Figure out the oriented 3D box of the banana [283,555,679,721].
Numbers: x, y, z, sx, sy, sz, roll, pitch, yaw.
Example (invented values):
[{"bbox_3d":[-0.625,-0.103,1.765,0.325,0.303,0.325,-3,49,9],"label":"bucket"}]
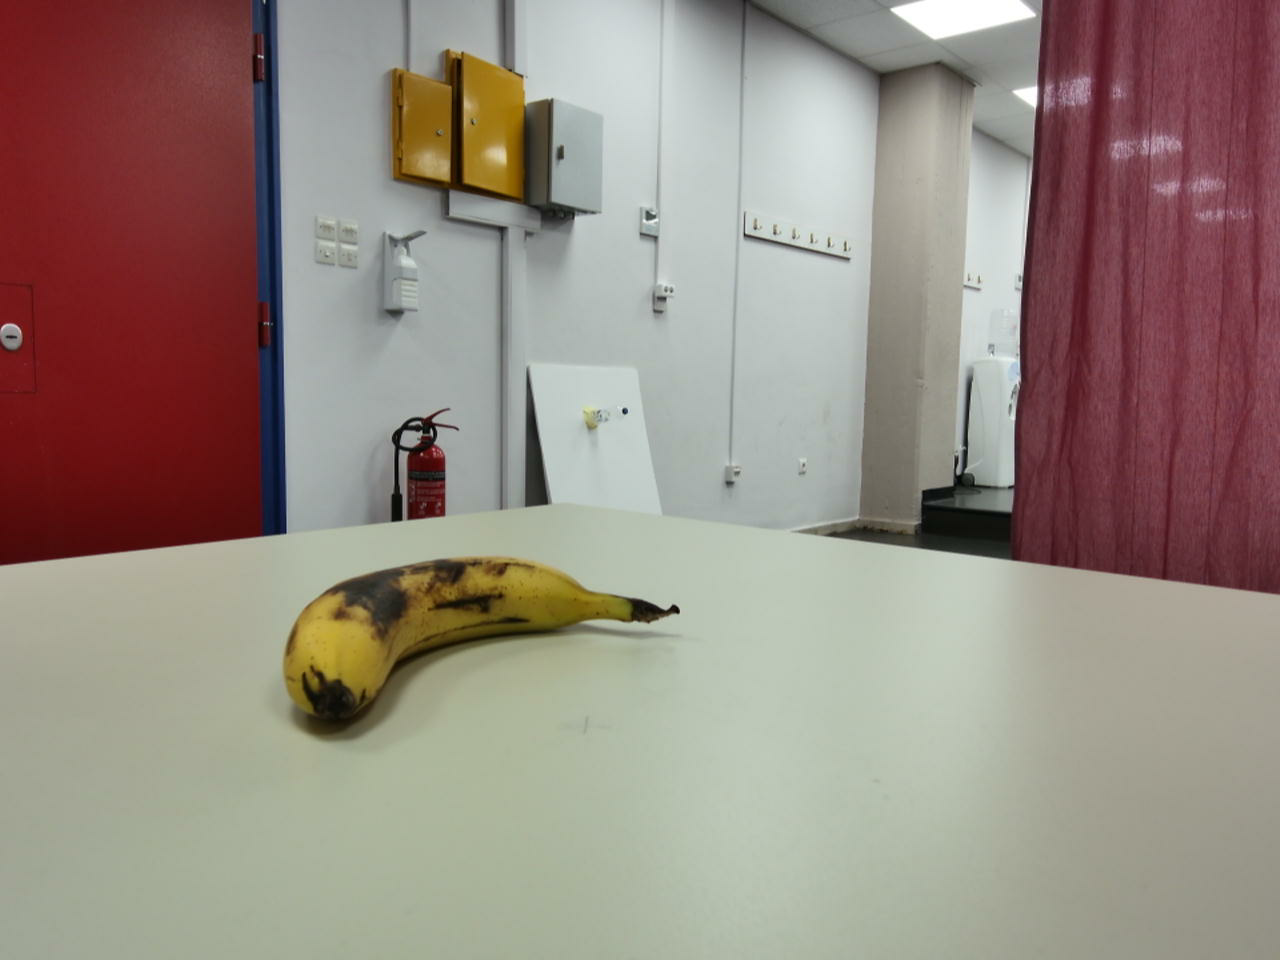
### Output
[{"bbox_3d":[-0.079,0.058,0.421,0.094,0.039,0.187,2,5,37],"label":"banana"}]
